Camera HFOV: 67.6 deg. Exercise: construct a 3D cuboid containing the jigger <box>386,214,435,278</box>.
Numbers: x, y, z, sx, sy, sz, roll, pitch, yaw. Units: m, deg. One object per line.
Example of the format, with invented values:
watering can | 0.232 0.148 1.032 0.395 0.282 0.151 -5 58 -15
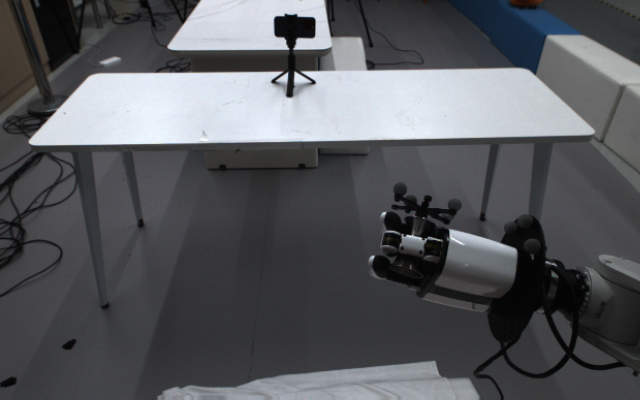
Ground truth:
jigger | 0.119 0.058 0.608 0.043 0.043 0.071 13 72 15
